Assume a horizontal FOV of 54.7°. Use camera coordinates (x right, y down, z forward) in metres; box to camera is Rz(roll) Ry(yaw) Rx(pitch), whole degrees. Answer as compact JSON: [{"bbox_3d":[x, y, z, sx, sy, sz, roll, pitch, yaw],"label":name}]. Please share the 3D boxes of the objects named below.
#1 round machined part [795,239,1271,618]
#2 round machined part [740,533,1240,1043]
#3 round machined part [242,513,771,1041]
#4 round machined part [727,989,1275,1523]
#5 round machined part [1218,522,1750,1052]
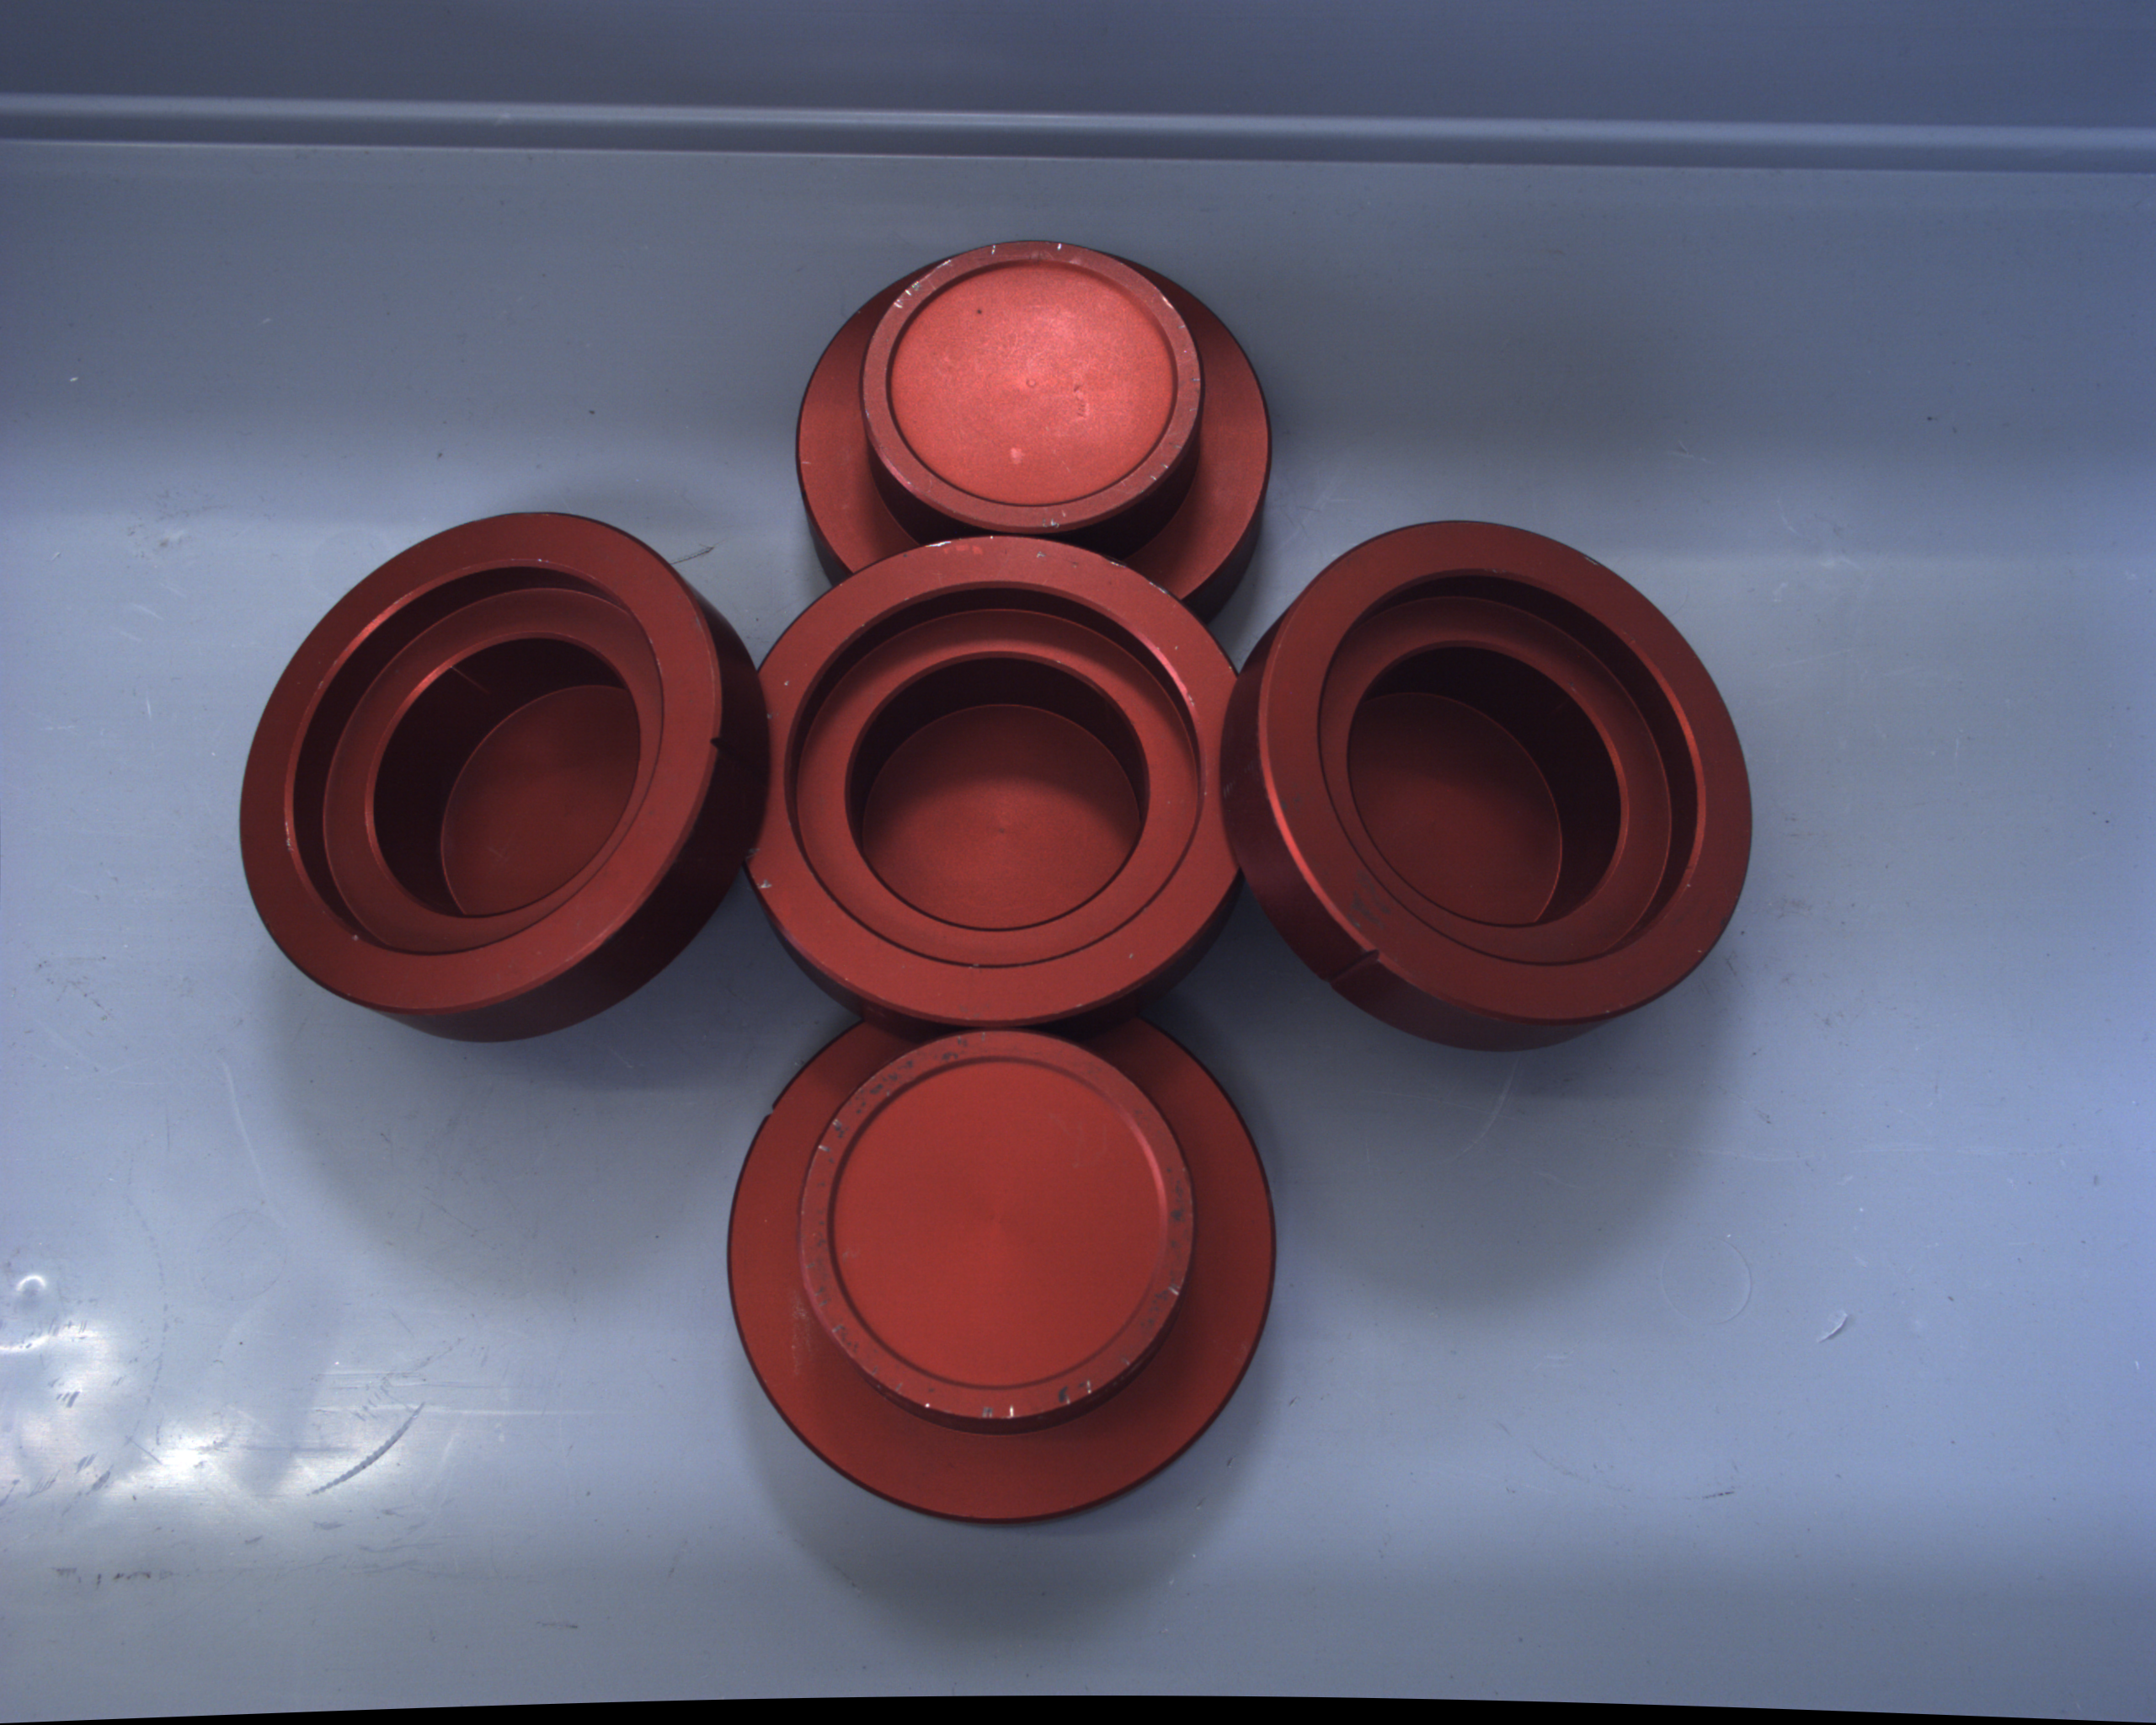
[{"bbox_3d":[-0.009,-0.088,0.431,0.099,0.042,0.098,0,70,0],"label":"round machined part"},{"bbox_3d":[-0.015,-0.011,0.402,0.099,0.042,0.098,0,70,0],"label":"round machined part"},{"bbox_3d":[-0.103,-0.013,0.394,0.098,0.042,0.098,-6,69,16],"label":"round machined part"},{"bbox_3d":[-0.014,0.067,0.374,0.099,0.042,0.098,0,70,0],"label":"round machined part"},{"bbox_3d":[0.072,-0.011,0.394,0.099,0.042,0.098,6,69,-16],"label":"round machined part"}]
